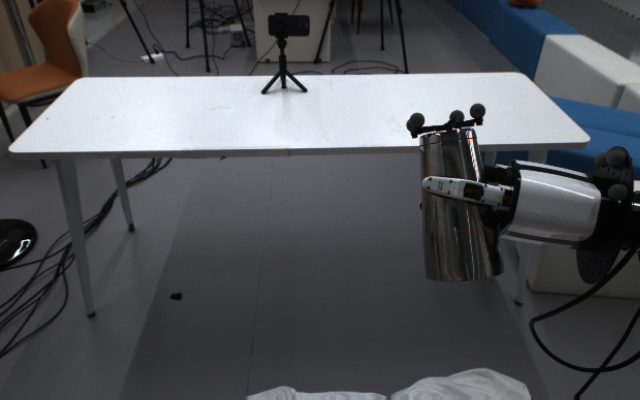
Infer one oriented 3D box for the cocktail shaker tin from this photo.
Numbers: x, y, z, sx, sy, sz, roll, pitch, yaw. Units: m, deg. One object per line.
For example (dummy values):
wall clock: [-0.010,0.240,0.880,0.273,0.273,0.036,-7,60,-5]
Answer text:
cocktail shaker tin: [0.164,0.004,0.583,0.093,0.170,0.093,-8,1,0]
